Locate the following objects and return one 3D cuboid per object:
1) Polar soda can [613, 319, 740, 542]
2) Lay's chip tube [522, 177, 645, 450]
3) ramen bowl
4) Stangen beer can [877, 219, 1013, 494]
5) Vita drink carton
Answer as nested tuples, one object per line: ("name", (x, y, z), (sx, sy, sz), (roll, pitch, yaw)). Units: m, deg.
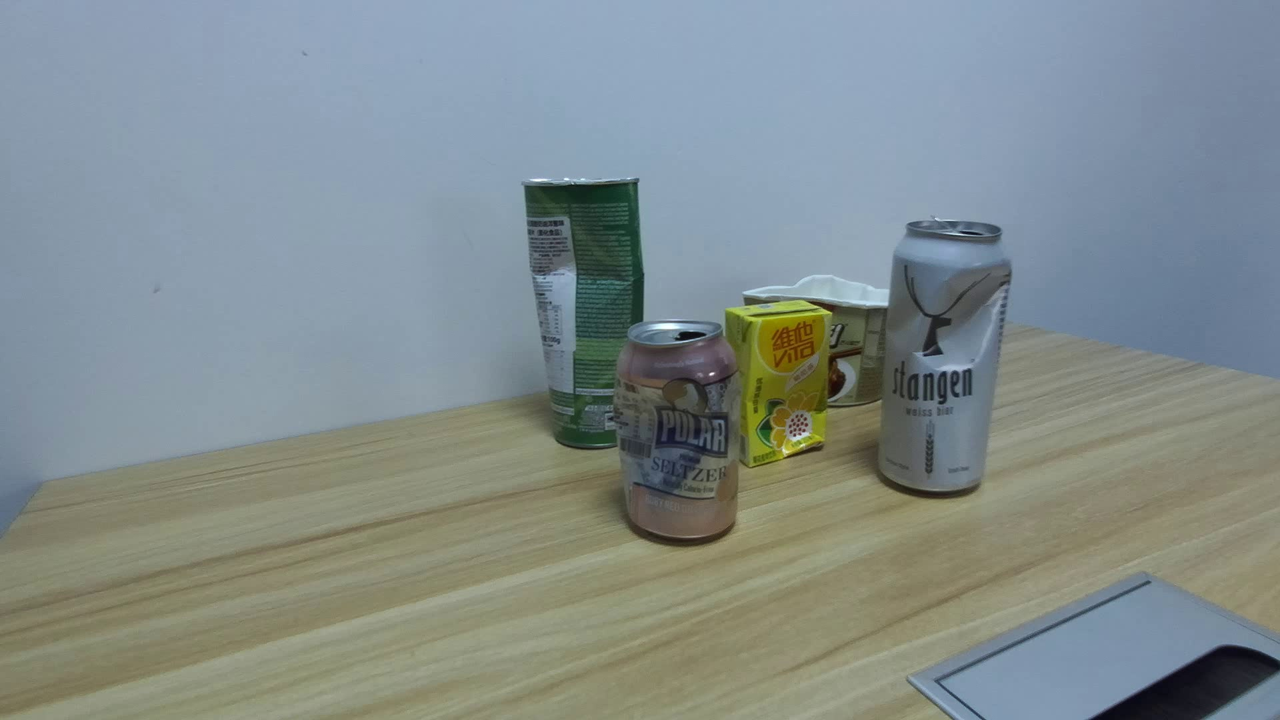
("Polar soda can", (0.024, 0.042, 0.411), (0.067, 0.122, 0.074), (-9, 16, -20))
("Lay's chip tube", (-0.039, -0.036, 0.541), (0.075, 0.199, 0.068), (-8, 18, -19))
("ramen bowl", (0.179, -0.020, 0.644), (0.114, 0.097, 0.133), (-15, 21, -37))
("Stangen beer can", (0.192, -0.001, 0.446), (0.070, 0.173, 0.070), (5, 18, 23))
("Vita drink carton", (0.102, 0.015, 0.508), (0.076, 0.109, 0.043), (-8, 18, -17))
